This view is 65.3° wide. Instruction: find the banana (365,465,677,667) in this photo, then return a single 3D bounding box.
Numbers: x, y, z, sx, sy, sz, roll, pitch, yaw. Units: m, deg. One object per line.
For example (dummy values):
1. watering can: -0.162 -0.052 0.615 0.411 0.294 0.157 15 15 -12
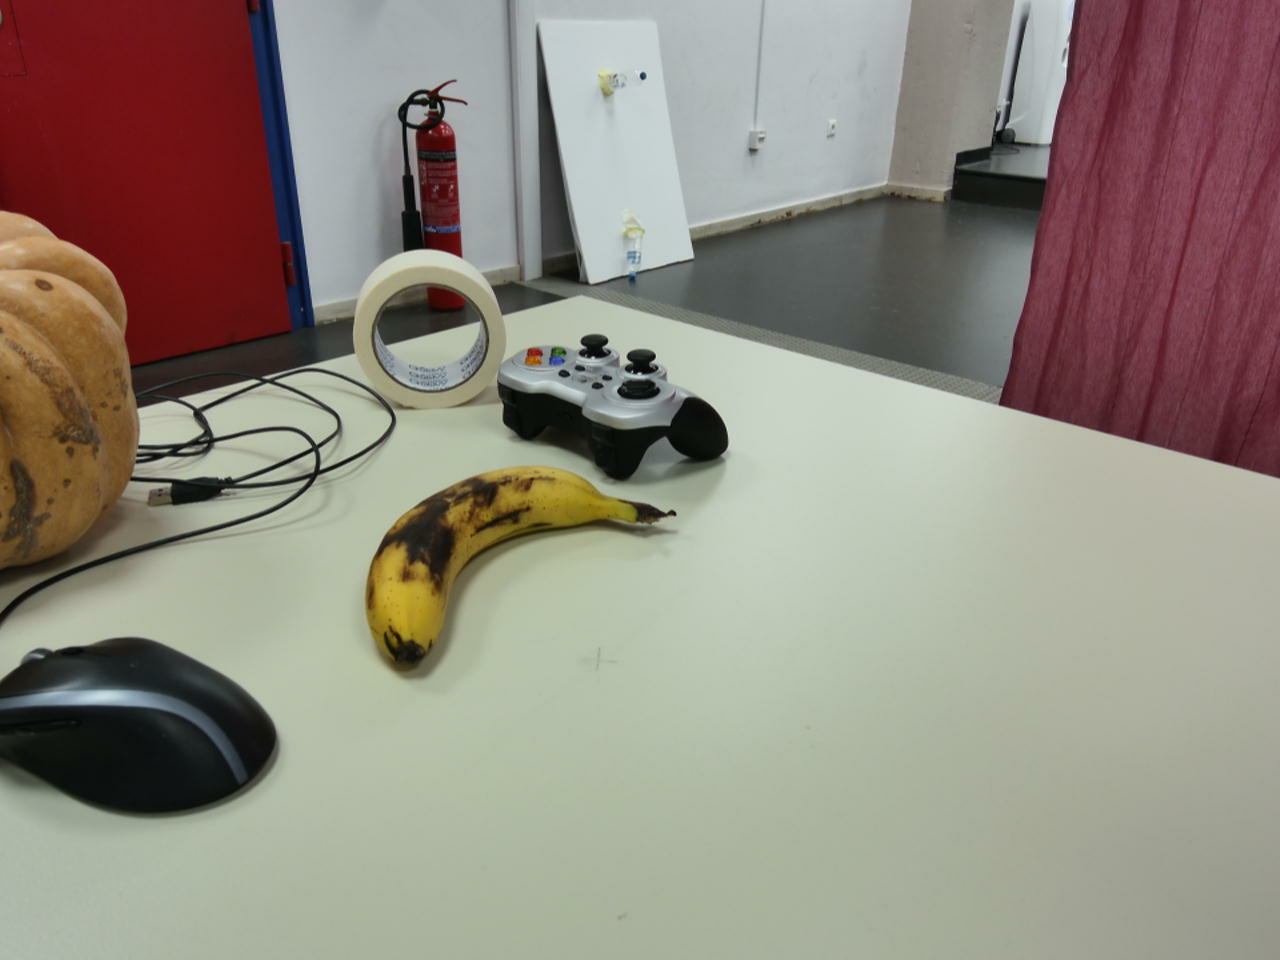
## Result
1. banana: -0.076 0.030 0.515 0.094 0.039 0.187 19 30 35
